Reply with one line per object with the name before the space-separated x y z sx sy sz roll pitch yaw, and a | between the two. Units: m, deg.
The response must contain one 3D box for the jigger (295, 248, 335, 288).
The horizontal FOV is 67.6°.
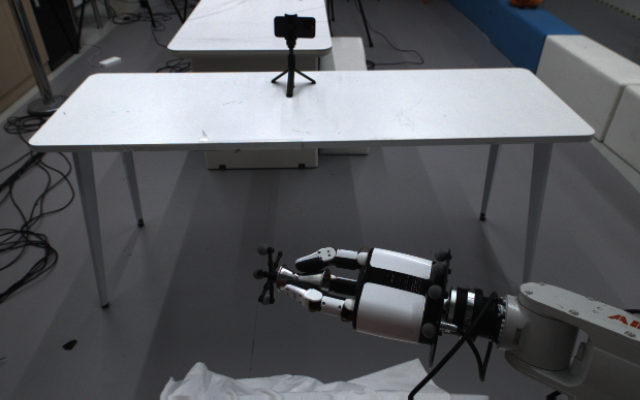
jigger | -0.017 0.112 0.691 0.071 0.043 0.043 5 34 17
